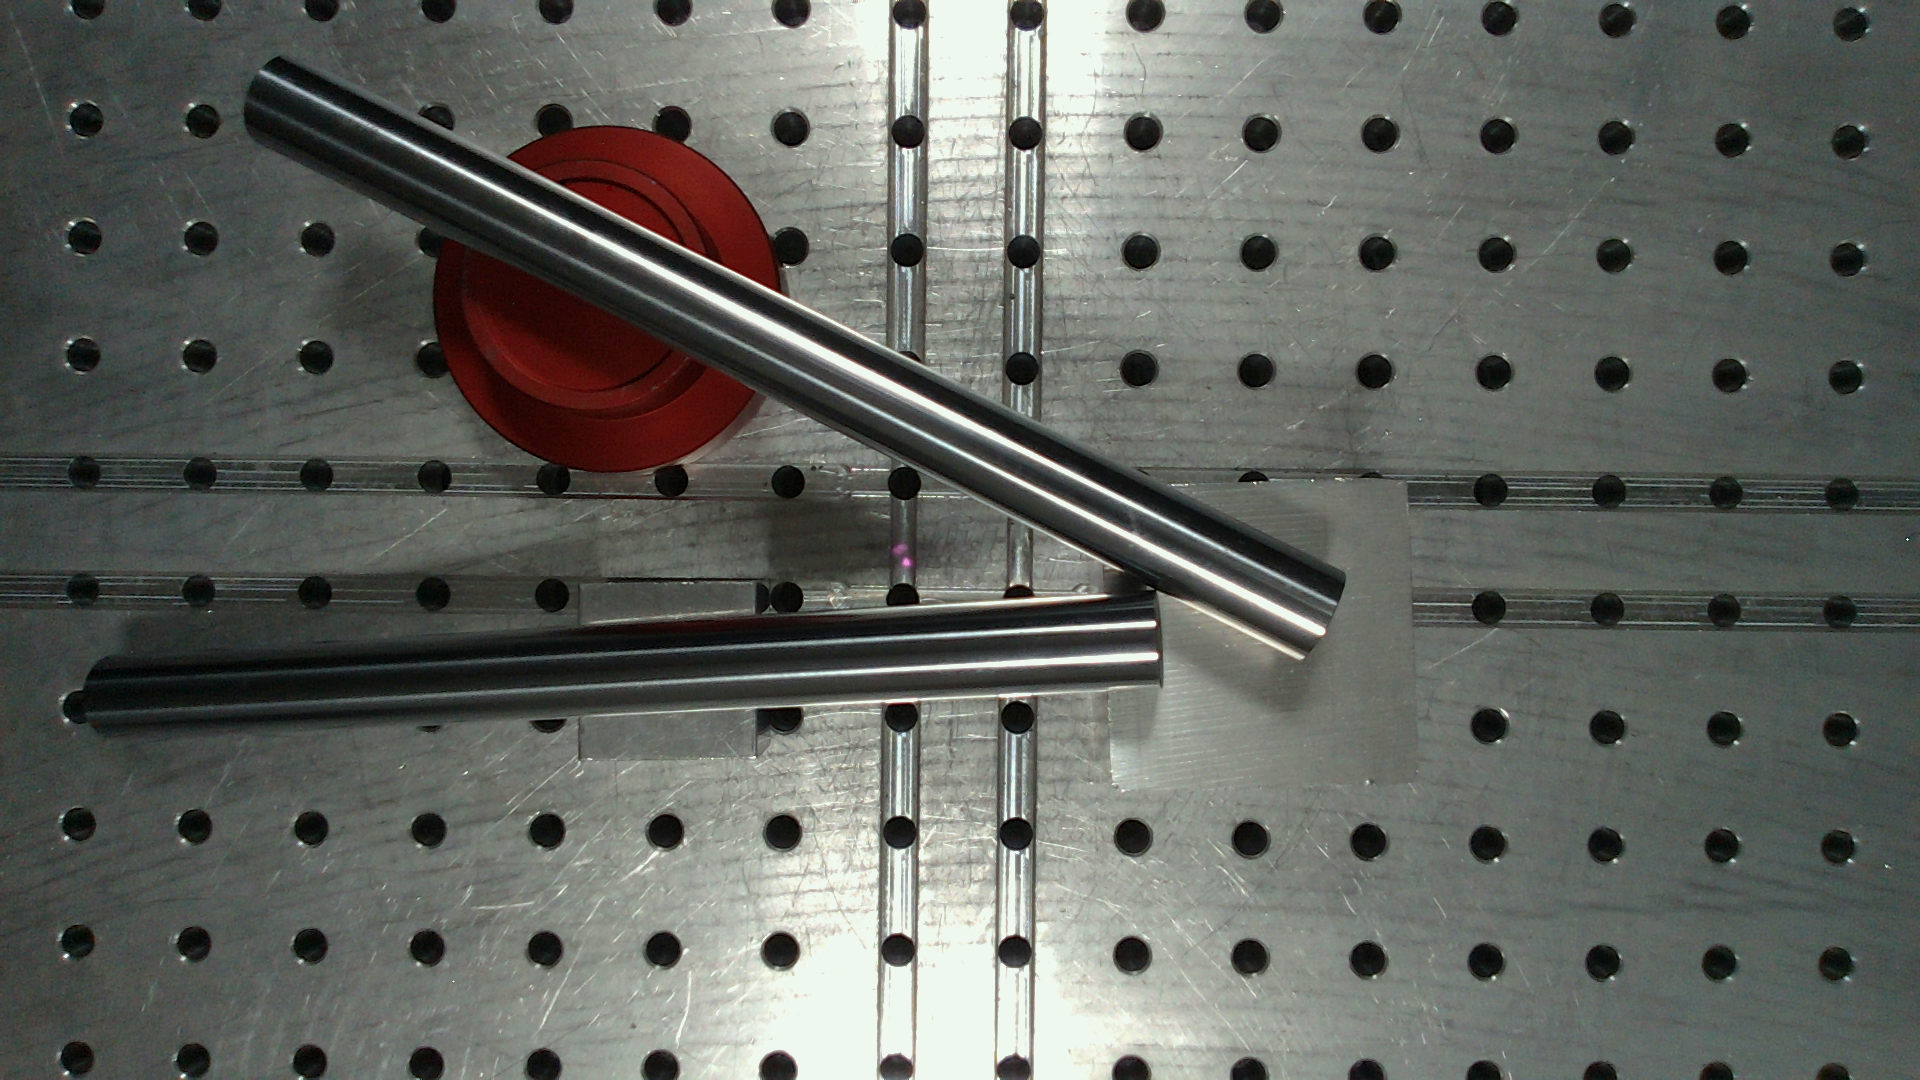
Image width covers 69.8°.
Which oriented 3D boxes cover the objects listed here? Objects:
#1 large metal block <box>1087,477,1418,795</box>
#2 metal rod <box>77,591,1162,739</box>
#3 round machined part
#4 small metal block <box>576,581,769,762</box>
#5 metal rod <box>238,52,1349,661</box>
[{"bbox_3d":[0.078,0.025,0.383,0.080,0.050,0.080,-2,90,0],"label":"large metal block"},{"bbox_3d":[-0.097,0.035,0.370,0.300,0.025,0.025,-4,90,10],"label":"metal rod"},{"bbox_3d":[-0.100,-0.068,0.388,0.098,0.042,0.098,0,90,0],"label":"round machined part"},{"bbox_3d":[-0.082,0.037,0.398,0.050,0.025,0.050,0,90,0],"label":"small metal block"},{"bbox_3d":[-0.044,-0.048,0.349,0.300,0.025,0.025,26,90,2],"label":"metal rod"}]
